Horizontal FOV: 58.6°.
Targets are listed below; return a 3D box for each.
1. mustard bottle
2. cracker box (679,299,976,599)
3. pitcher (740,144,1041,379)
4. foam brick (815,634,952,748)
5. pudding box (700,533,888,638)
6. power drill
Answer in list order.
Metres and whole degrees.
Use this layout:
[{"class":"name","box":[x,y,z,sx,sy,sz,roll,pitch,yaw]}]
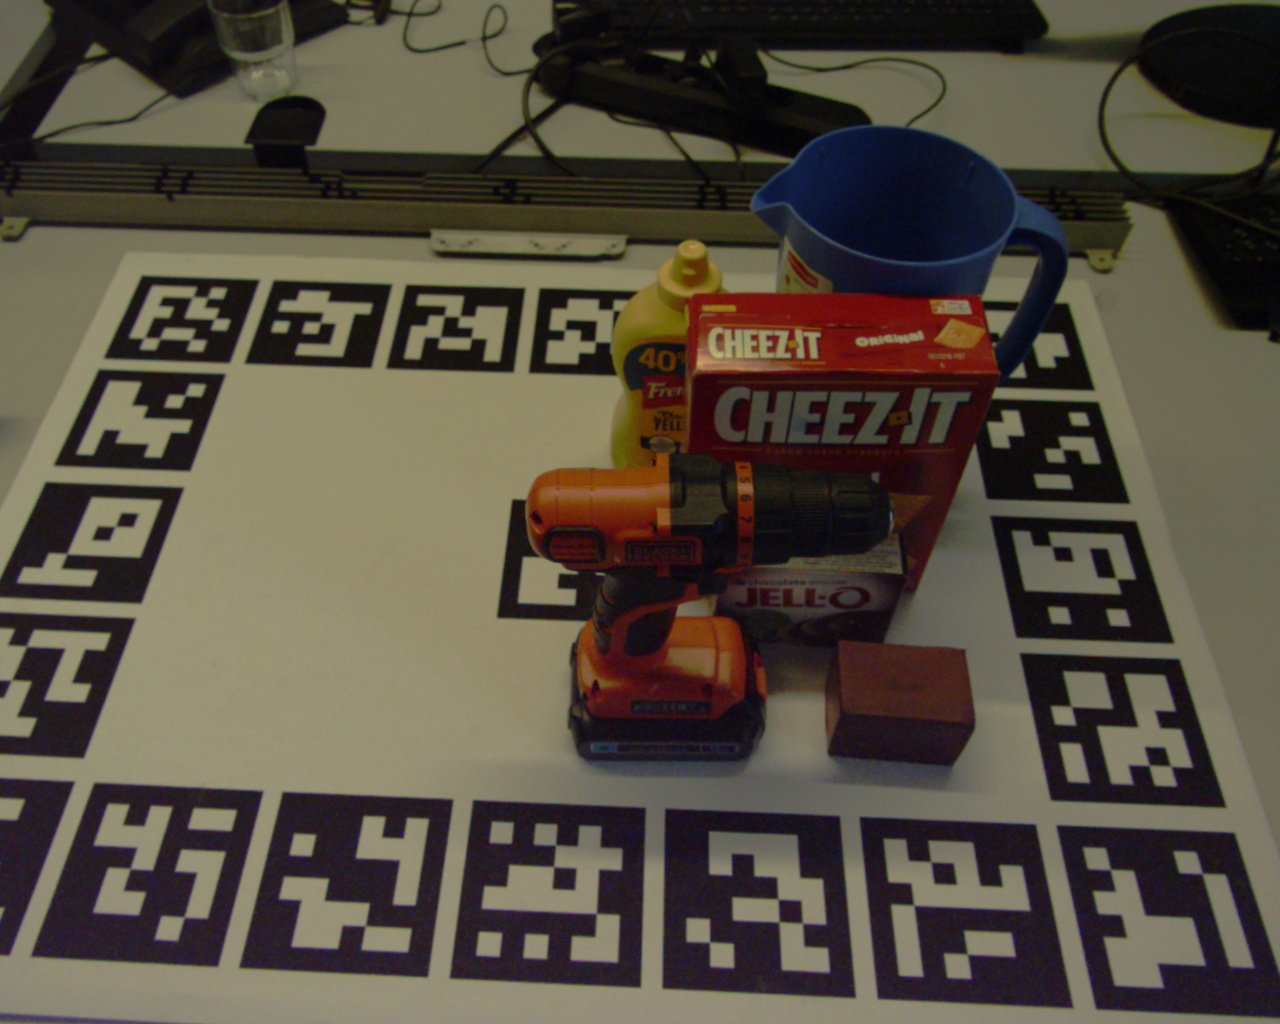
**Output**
[{"class":"mustard bottle","box":[0.023,-0.111,0.790,0.097,0.191,0.058,13,55,9]},{"class":"cracker box","box":[0.106,-0.030,0.721,0.164,0.212,0.072,-1,51,2]},{"class":"pitcher","box":[0.156,-0.113,0.777,0.189,0.241,0.133,6,53,6]},{"class":"foam brick","box":[0.151,0.114,0.719,0.078,0.051,0.053,4,55,3]},{"class":"pudding box","box":[0.096,0.041,0.734,0.114,0.089,0.039,1,51,4]},{"class":"power drill","box":[0.034,0.046,0.644,0.184,0.186,0.057,2,49,0]}]
